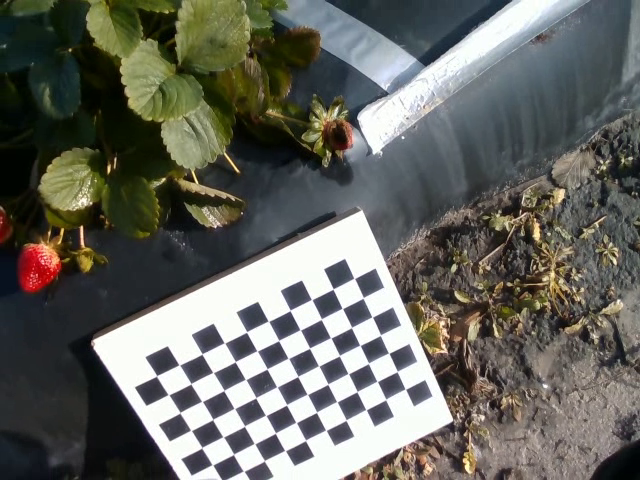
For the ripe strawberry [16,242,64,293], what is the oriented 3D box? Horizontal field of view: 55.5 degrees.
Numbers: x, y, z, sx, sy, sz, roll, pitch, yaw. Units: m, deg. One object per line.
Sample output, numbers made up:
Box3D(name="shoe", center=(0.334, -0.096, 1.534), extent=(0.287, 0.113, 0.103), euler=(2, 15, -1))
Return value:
Box3D(name="ripe strawberry", center=(-0.274, 0.029, 0.586), extent=(0.043, 0.053, 0.039), euler=(18, -31, -14))
